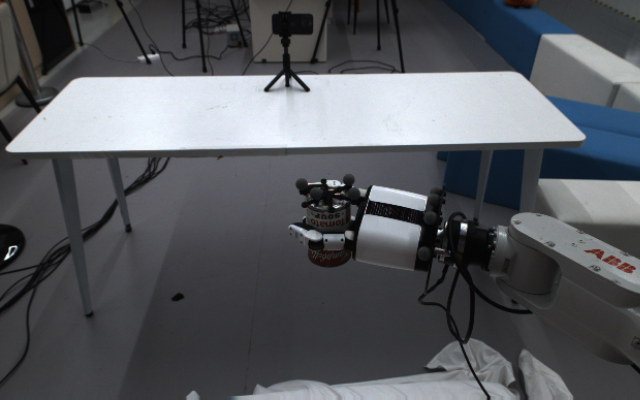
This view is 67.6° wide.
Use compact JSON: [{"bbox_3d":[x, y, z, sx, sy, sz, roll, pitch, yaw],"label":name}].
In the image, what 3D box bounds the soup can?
[{"bbox_3d":[0.014,0.039,0.716,0.067,0.101,0.067,-2,32,1],"label":"soup can"}]
